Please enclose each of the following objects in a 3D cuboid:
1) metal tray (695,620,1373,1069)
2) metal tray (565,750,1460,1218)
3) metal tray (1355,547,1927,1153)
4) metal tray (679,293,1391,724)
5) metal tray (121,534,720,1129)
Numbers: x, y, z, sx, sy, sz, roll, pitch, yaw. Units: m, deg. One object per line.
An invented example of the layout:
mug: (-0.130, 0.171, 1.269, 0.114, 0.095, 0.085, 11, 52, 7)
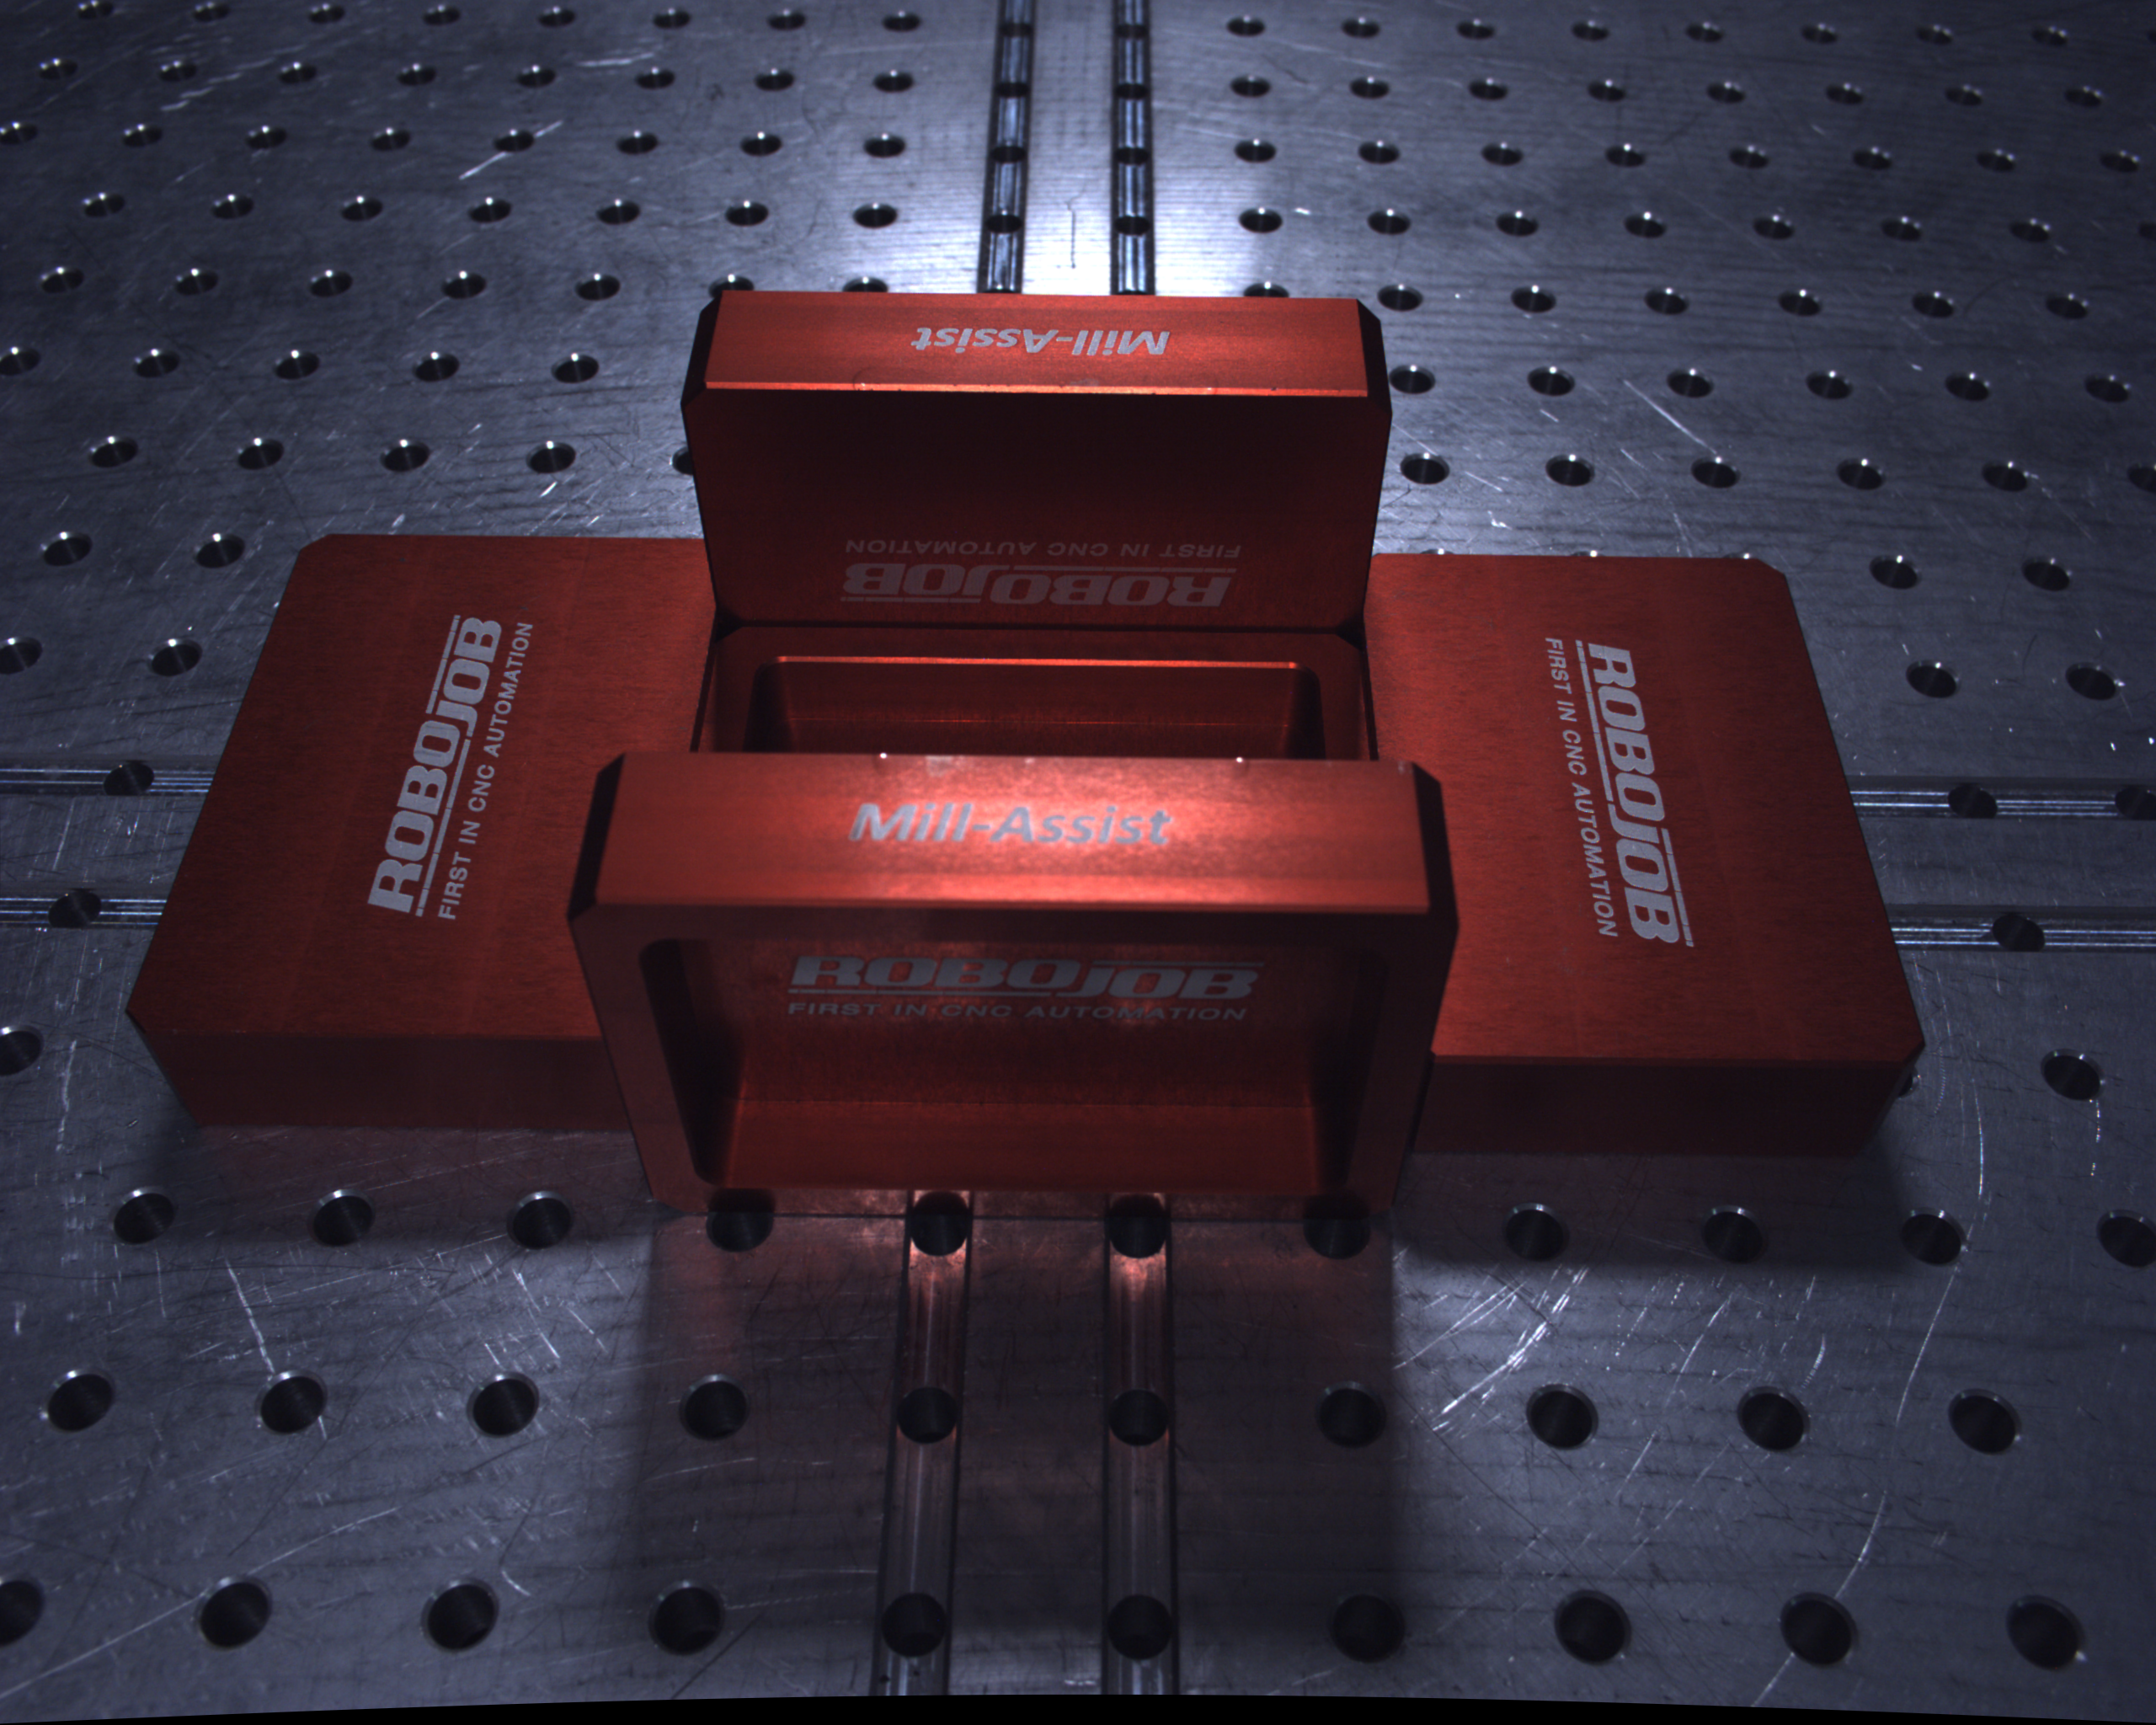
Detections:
metal tray: (-0.009, -0.005, 0.406, 0.131, 0.030, 0.090, 1, 50, 0)
metal tray: (-0.010, 0.023, 0.344, 0.131, 0.089, 0.030, 1, 50, 0)
metal tray: (0.102, -0.007, 0.409, 0.091, 0.030, 0.130, 2, 50, -1)
metal tray: (-0.008, -0.069, 0.423, 0.131, 0.089, 0.030, 1, 50, 0)
metal tray: (-0.120, -0.010, 0.411, 0.091, 0.030, 0.130, 1, 50, 0)
